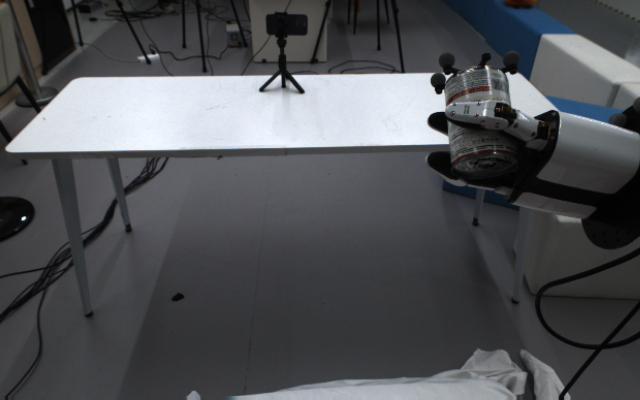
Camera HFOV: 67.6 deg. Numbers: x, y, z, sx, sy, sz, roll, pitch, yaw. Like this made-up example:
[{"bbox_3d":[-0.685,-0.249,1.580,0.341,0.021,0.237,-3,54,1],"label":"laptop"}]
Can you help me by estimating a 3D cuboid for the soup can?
[{"bbox_3d":[0.172,-0.081,0.514,0.067,0.067,0.101,1,72,-2],"label":"soup can"}]
